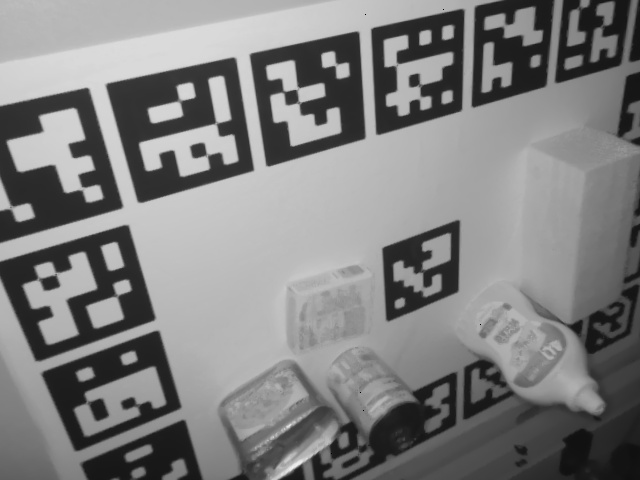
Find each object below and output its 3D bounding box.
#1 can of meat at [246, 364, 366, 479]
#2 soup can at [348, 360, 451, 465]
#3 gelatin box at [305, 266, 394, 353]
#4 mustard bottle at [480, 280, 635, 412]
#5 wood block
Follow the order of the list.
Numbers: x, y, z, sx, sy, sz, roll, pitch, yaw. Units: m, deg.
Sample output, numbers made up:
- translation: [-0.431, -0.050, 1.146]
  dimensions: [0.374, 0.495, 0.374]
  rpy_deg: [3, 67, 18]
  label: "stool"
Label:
- translation: [-0.018, 0.185, 0.701]
  dimensions: [0.102, 0.083, 0.057]
  rpy_deg: [-31, 124, -9]
  label: "can of meat"
- translation: [0.081, 0.180, 0.730]
  dimensions: [0.069, 0.101, 0.067]
  rpy_deg: [-12, 117, -23]
  label: "soup can"
- translation: [0.029, 0.071, 0.698]
  dimensions: [0.091, 0.030, 0.073]
  rpy_deg: [-11, 116, -26]
  label: "gelatin box"
- translation: [0.268, 0.124, 0.765]
  dimensions: [0.096, 0.190, 0.058]
  rpy_deg: [-40, 126, -2]
  label: "mustard bottle"
- translation: [0.322, -0.016, 0.782]
  dimensions: [0.092, 0.089, 0.205]
  rpy_deg: [-18, 125, -17]
  label: "wood block"
